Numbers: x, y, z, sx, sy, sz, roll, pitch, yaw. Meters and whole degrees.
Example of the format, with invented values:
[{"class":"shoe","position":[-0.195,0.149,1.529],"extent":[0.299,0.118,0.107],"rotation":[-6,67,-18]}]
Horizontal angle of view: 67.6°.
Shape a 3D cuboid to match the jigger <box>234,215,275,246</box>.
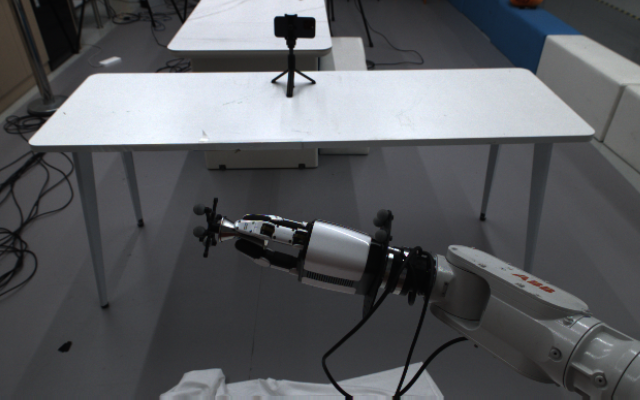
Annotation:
[{"class":"jigger","position":[-0.103,0.043,0.711],"extent":[0.071,0.043,0.043],"rotation":[7,35,2]}]
